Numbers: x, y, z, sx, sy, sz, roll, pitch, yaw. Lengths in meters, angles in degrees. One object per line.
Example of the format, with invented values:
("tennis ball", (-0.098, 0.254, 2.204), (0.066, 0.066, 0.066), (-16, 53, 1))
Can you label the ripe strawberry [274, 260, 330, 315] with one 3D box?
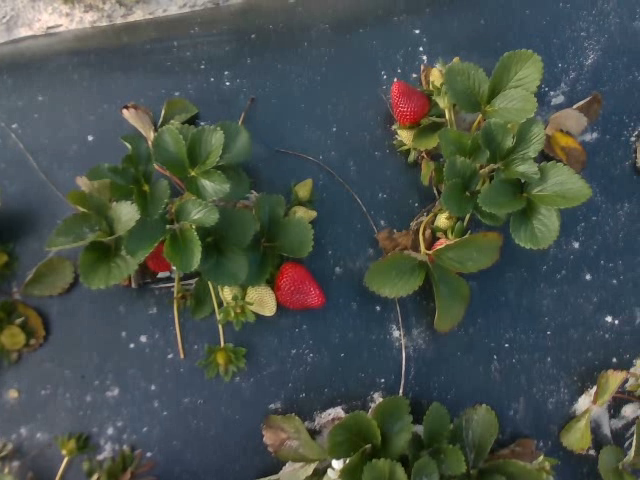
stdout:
("ripe strawberry", (-0.017, 0.054, 0.602), (0.055, 0.051, 0.048), (36, 32, 29))
